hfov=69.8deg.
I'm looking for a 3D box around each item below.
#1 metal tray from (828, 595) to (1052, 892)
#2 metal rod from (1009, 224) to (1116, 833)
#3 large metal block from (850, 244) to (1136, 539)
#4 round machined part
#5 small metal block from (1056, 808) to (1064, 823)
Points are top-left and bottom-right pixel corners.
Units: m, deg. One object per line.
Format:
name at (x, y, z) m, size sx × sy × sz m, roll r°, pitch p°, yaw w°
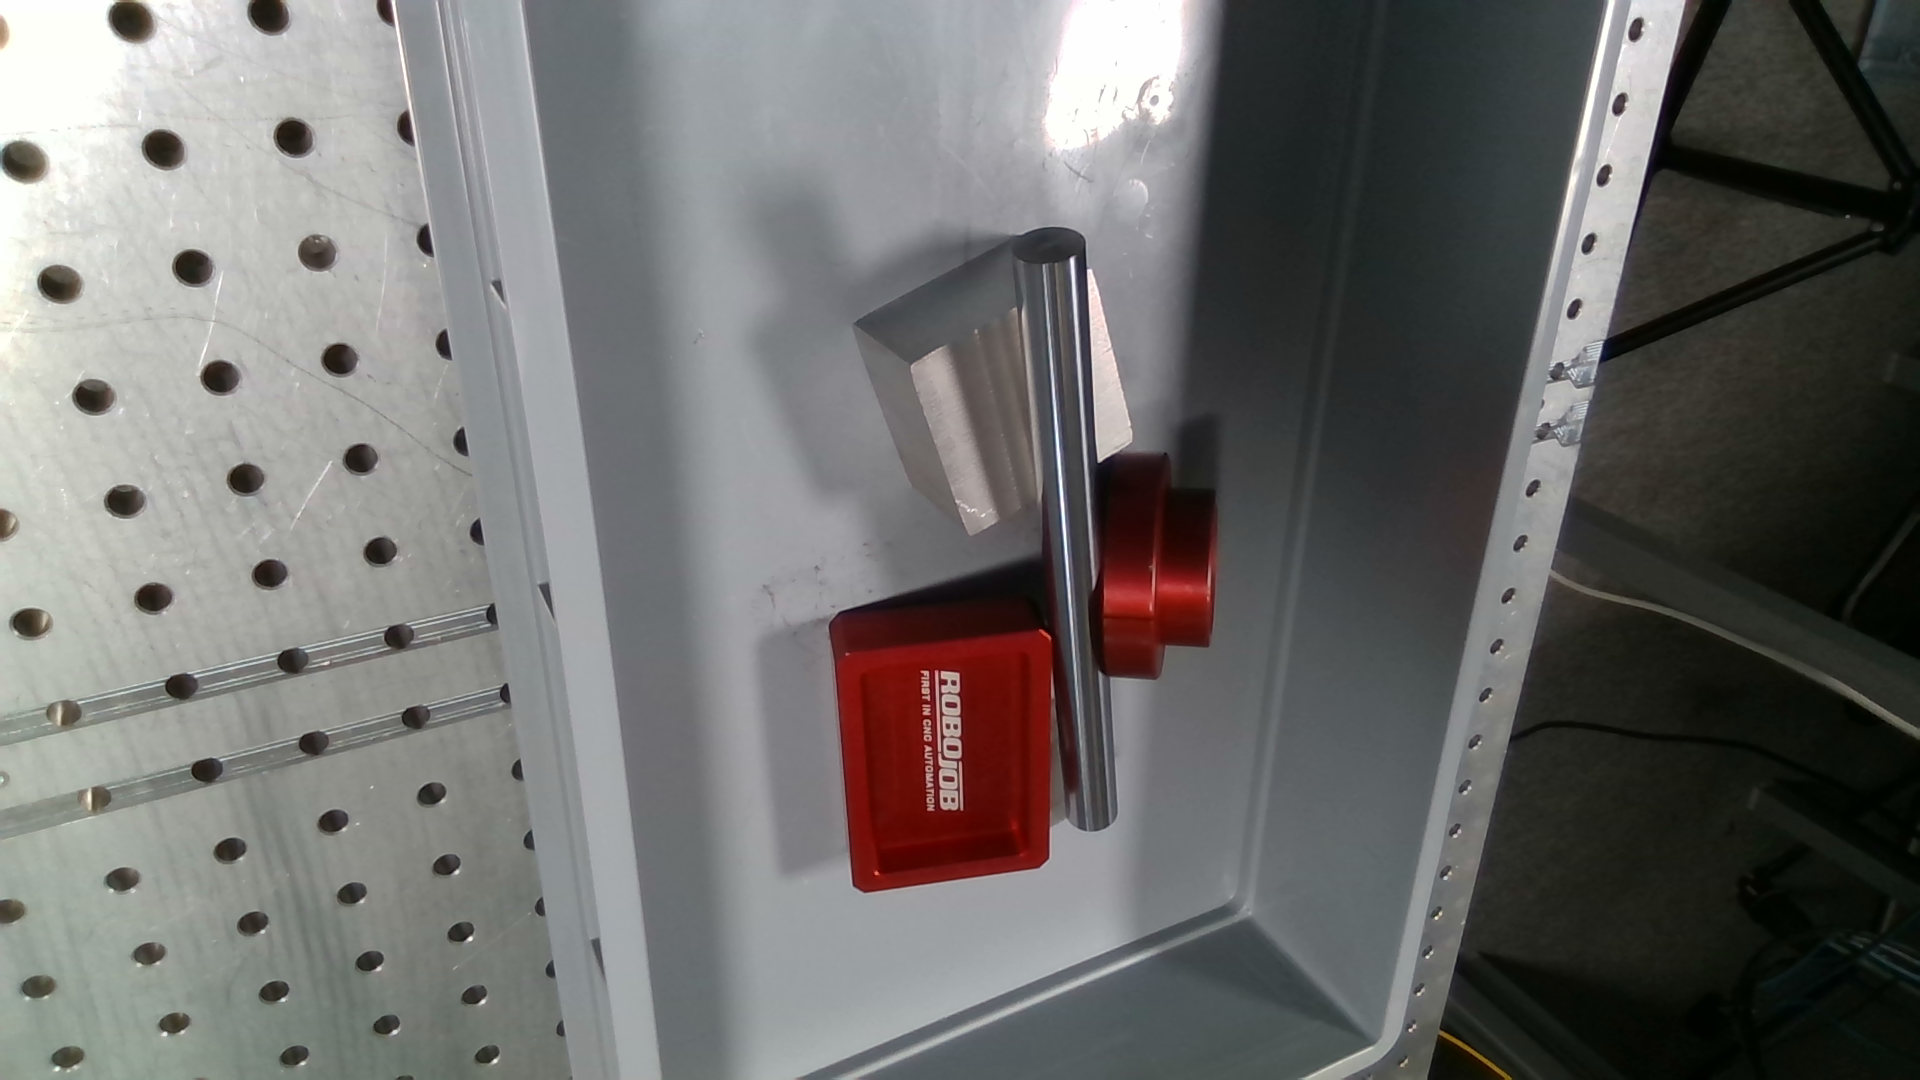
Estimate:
metal tray at (-0.008, 0.091, 0.602) m, size 0.090 × 0.030 × 0.130 m, roll -6°, pitch 120°, yaw -7°
metal rod at (0.046, 0.014, 0.557) m, size 0.025 × 0.025 × 0.301 m, roll -25°, pitch 132°, yaw -19°
large metal block at (0.014, -0.061, 0.538) m, size 0.080 × 0.050 × 0.080 m, roll -30°, pitch 127°, yaw -15°
round machined part at (0.087, 0.011, 0.589) m, size 0.042 × 0.098 × 0.098 m, roll 3°, pitch 121°, yaw 12°
small metal block at (0.045, 0.107, 0.665) m, size 0.050 × 0.025 × 0.050 m, roll -25°, pitch 125°, yaw -18°
